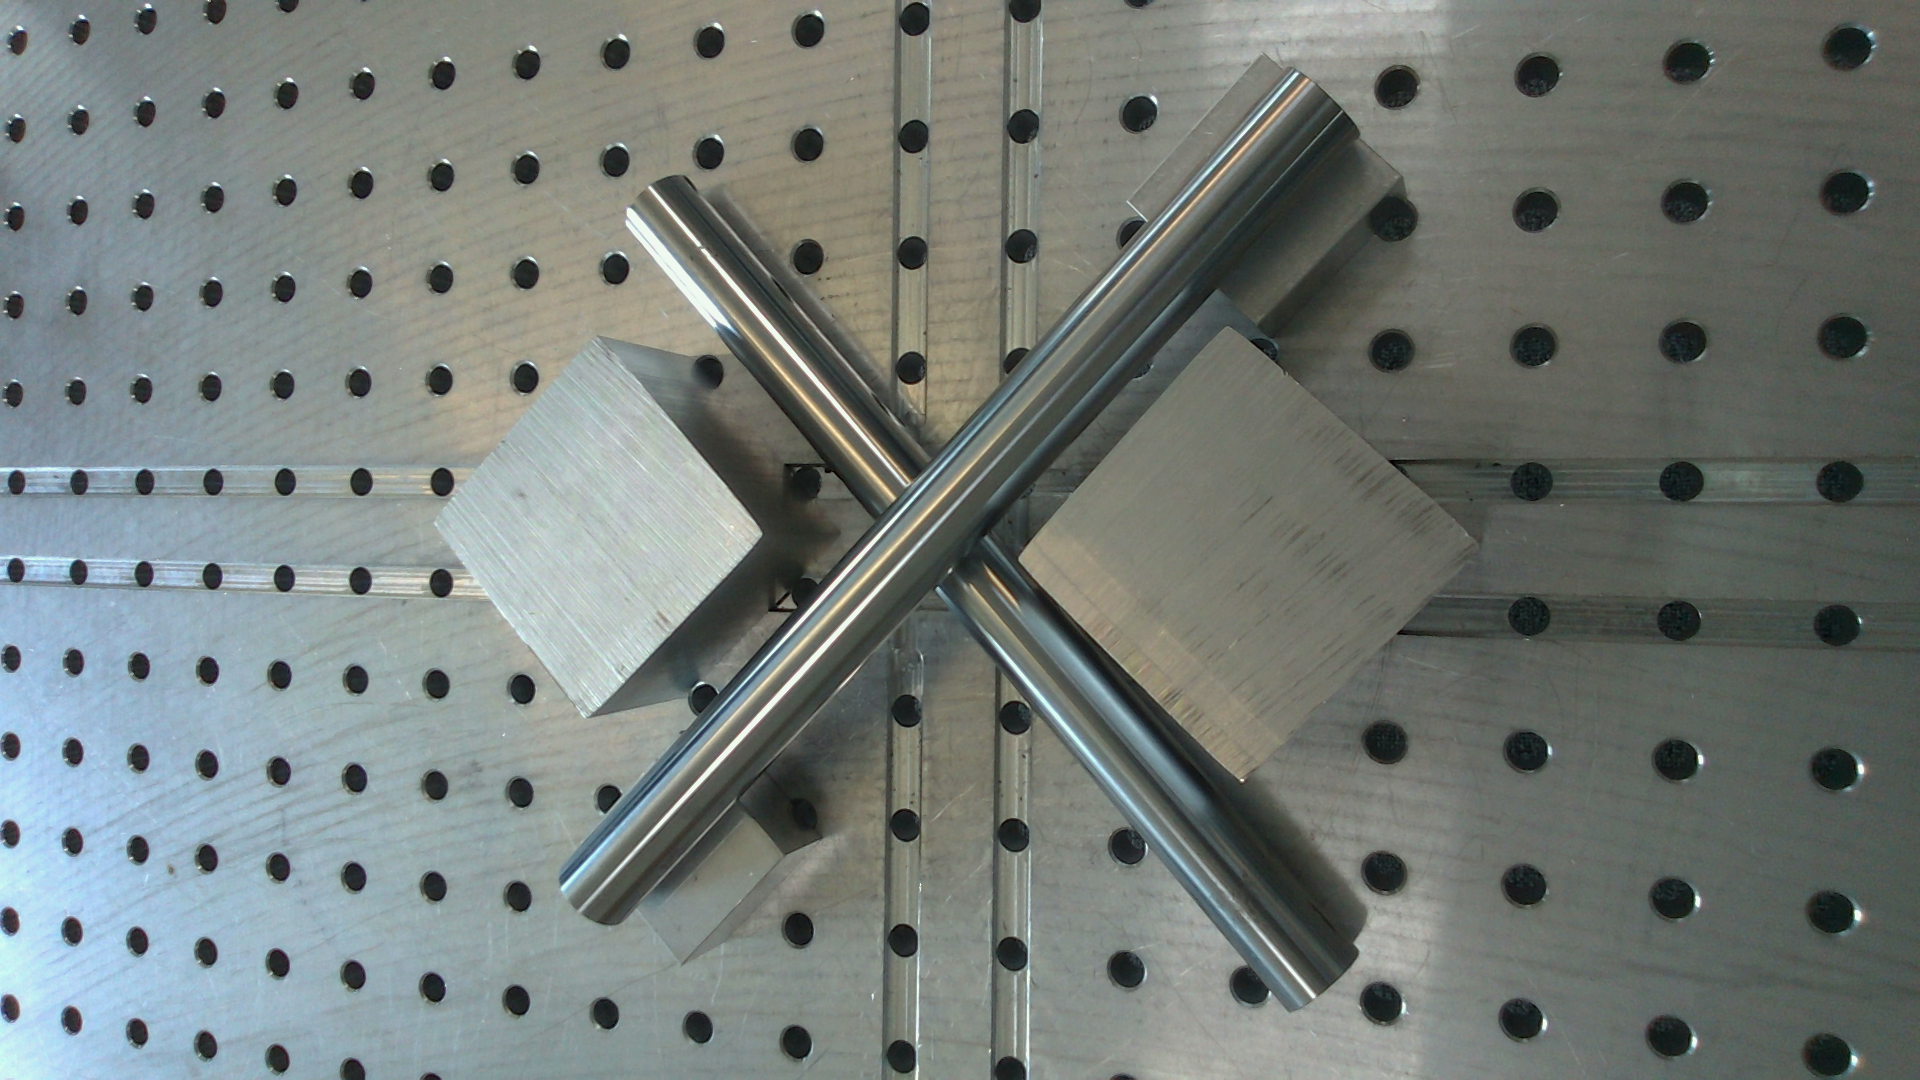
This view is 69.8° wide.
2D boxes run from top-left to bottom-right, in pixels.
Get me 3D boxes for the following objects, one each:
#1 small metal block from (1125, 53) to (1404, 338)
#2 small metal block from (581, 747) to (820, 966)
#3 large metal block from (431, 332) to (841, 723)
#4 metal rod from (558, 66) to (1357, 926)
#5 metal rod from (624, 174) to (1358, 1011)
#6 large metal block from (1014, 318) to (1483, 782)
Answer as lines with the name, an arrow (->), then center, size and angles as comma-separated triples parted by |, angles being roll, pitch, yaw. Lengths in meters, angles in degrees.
small metal block -> 0.082, -0.091, 0.369 | 0.050, 0.025, 0.050 | -46, 76, 14
small metal block -> -0.081, 0.093, 0.428 | 0.050, 0.025, 0.050 | 46, 104, 14
large metal block -> -0.098, -0.004, 0.421 | 0.080, 0.050, 0.080 | -45, 76, 14
metal rod -> -0.010, -0.001, 0.375 | 0.025, 0.025, 0.300 | 46, 104, 14
metal rod -> 0.000, 0.005, 0.397 | 0.025, 0.025, 0.300 | -44, 76, 15
large metal block -> 0.075, 0.002, 0.358 | 0.080, 0.050, 0.080 | 45, 104, 14
